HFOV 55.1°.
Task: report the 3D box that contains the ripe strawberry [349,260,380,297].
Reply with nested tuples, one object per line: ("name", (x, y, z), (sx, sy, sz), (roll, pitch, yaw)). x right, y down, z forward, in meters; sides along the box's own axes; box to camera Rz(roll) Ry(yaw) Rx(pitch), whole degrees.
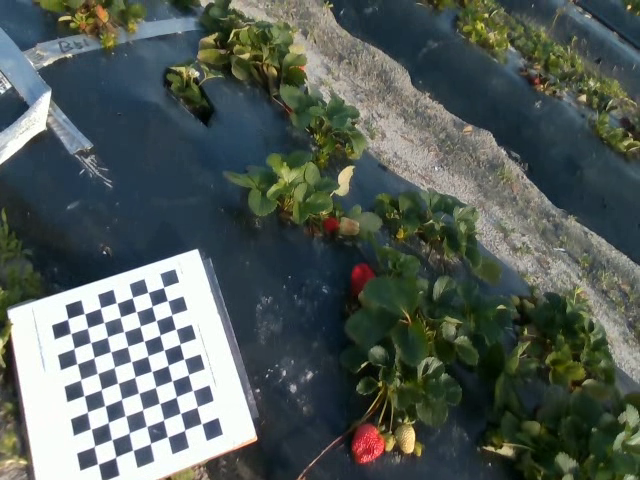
("ripe strawberry", (0.073, 0.070, 1.050), (0.058, 0.070, 0.057), (-8, 1, -9))

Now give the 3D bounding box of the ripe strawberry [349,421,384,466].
("ripe strawberry", (0.068, 0.285, 0.843), (0.050, 0.047, 0.034), (-37, -17, -25))
